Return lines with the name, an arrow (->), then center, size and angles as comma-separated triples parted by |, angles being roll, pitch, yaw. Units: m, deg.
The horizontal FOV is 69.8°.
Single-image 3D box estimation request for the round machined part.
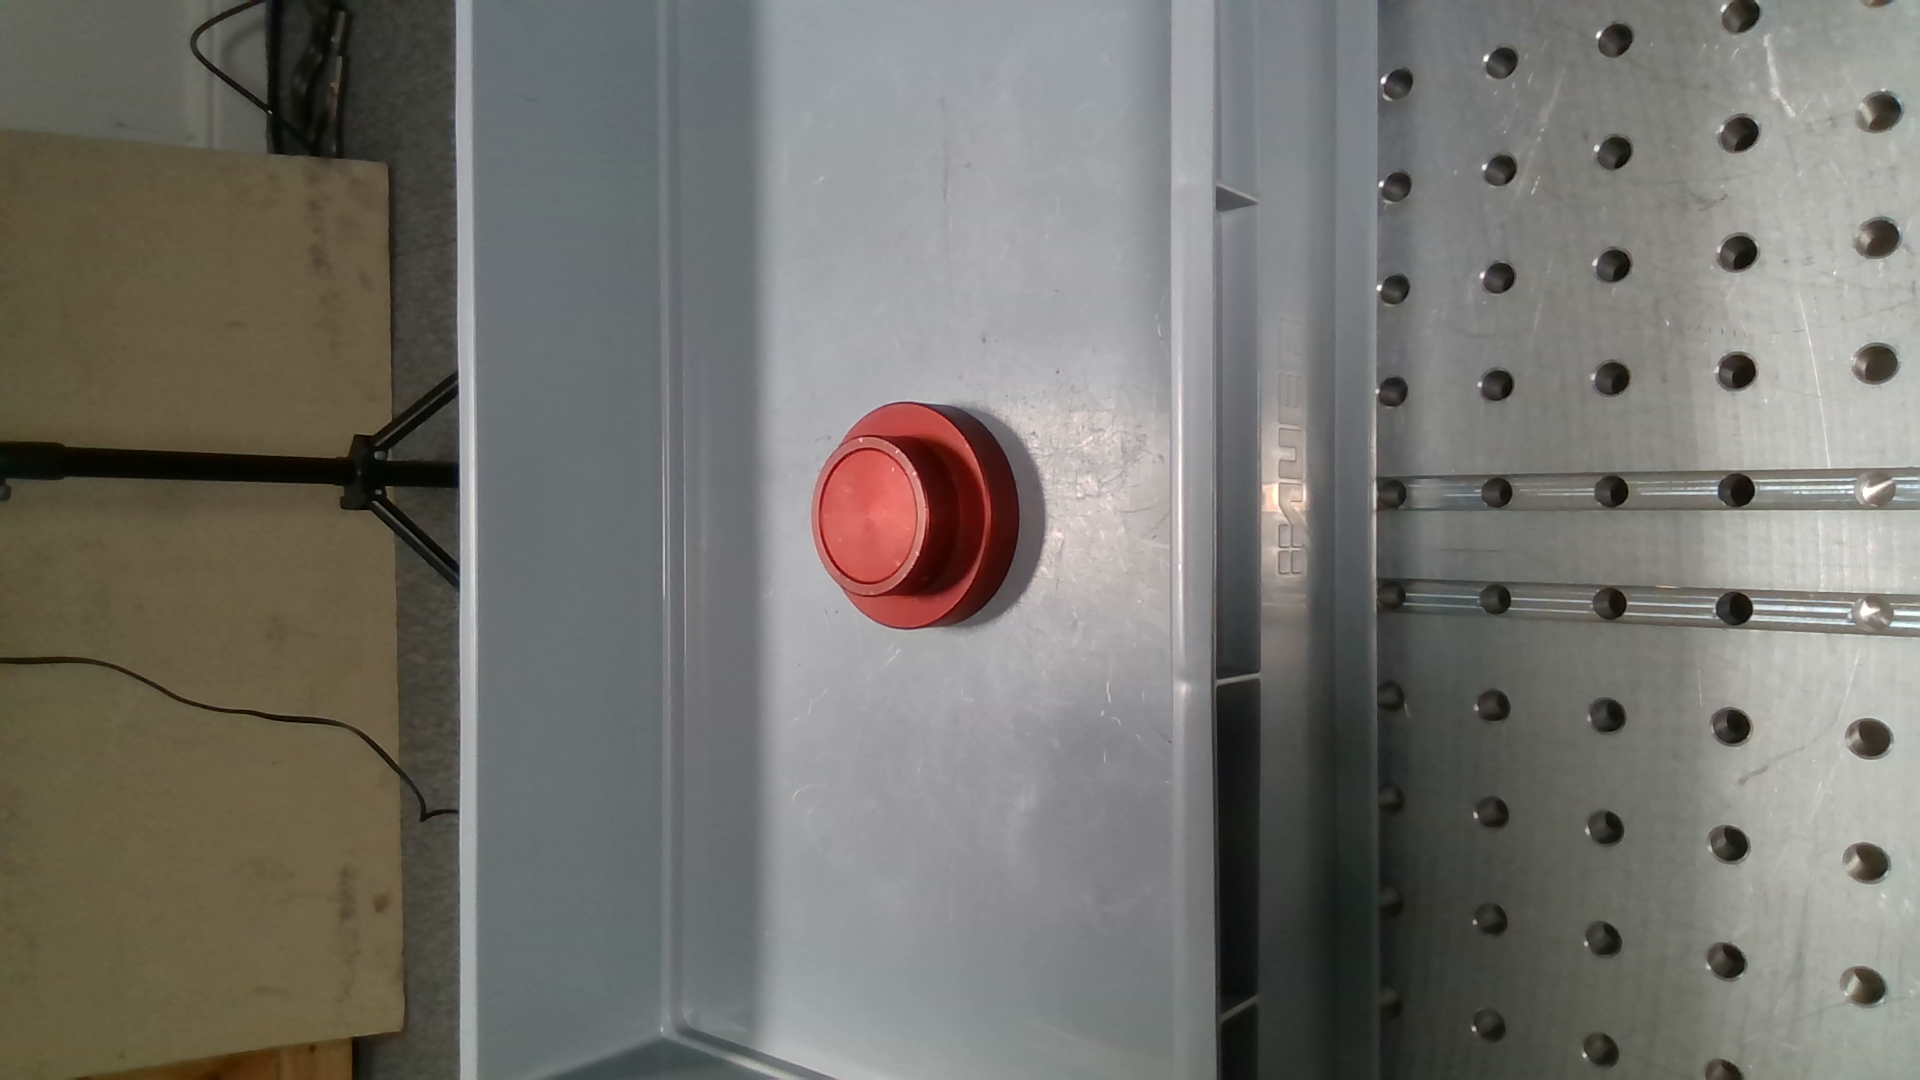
round machined part -> -0.026, -0.010, 0.589 | 0.098, 0.042, 0.098 | 0, 91, 40
